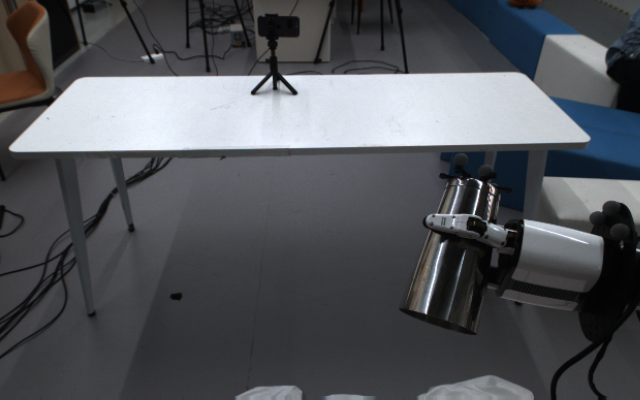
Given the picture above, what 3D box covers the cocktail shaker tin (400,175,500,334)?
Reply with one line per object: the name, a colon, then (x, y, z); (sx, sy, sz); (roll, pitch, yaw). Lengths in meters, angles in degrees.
cocktail shaker tin: (0.164, 0.063, 0.578); (0.093, 0.093, 0.170); (15, 74, 18)
